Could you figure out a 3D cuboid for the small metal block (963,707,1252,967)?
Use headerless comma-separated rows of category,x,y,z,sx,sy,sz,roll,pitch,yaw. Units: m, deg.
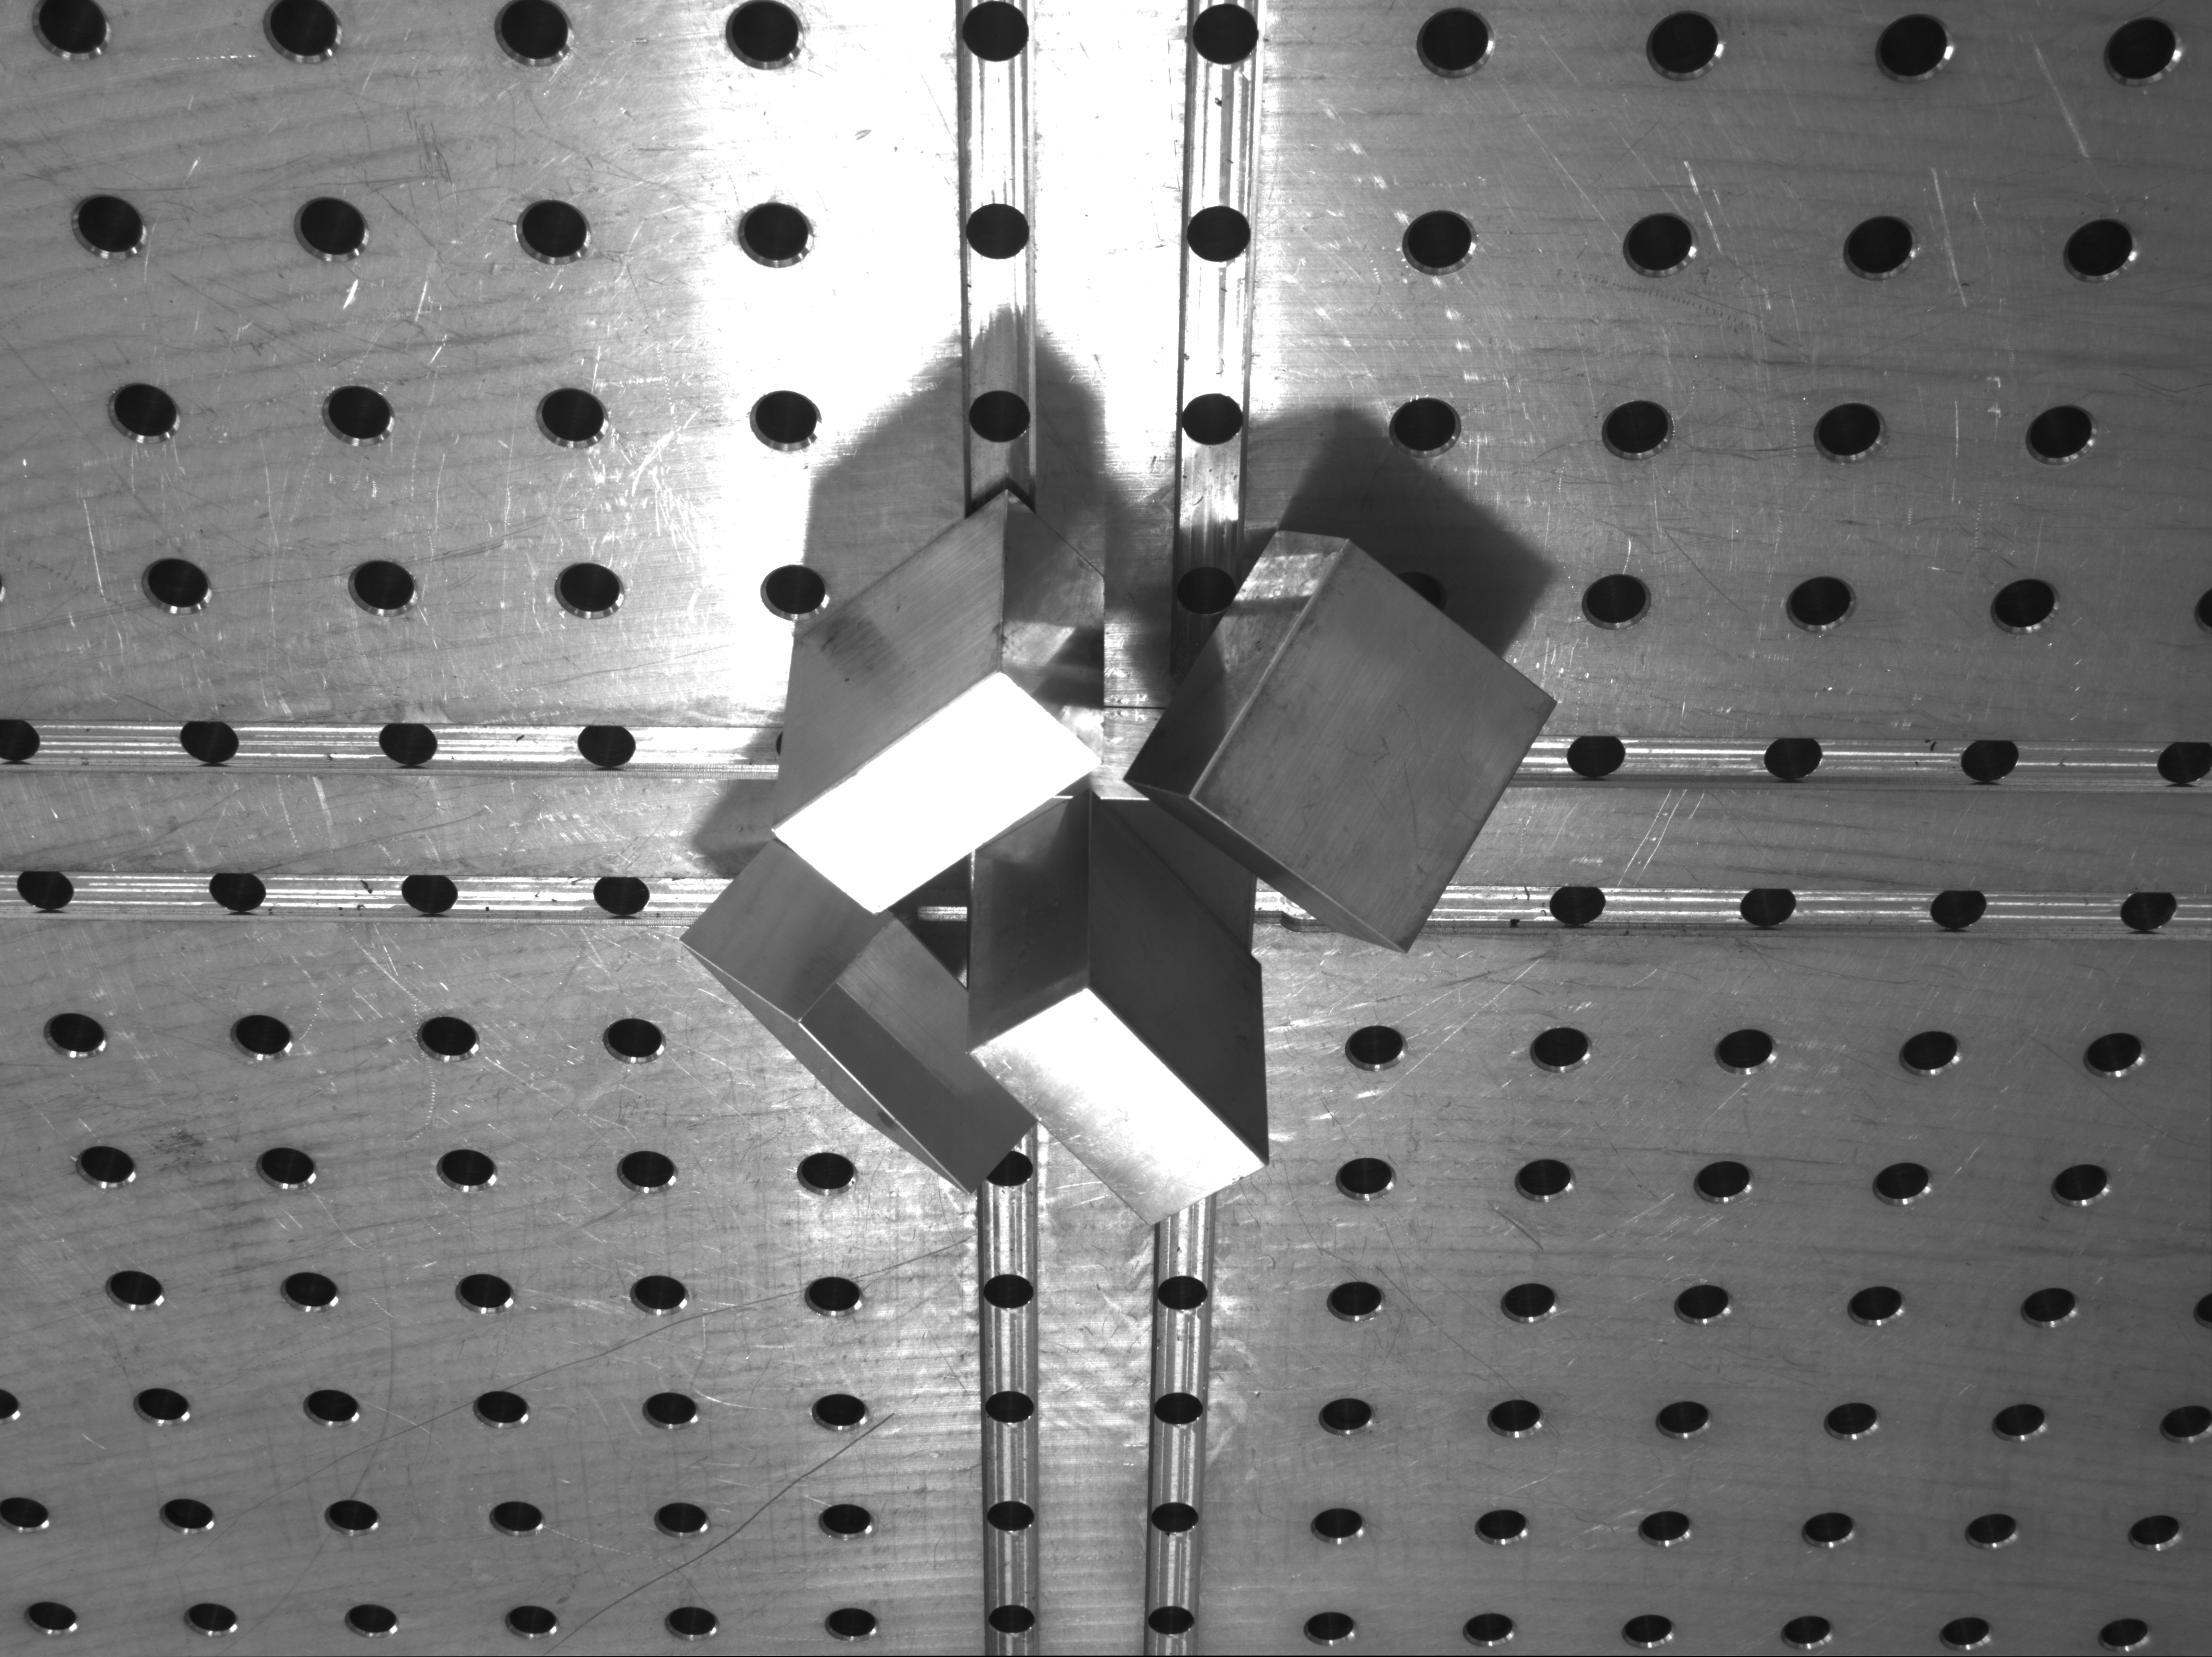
small metal block,0.000,0.006,0.647,0.050,0.025,0.050,-1,130,-1

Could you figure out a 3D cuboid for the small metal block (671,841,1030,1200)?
small metal block,-0.043,0.034,0.651,0.025,0.050,0.050,-48,123,-10

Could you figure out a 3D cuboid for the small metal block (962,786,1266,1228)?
small metal block,0.001,0.030,0.619,0.025,0.050,0.050,-30,124,22

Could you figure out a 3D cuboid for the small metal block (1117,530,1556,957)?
small metal block,0.039,-0.014,0.613,0.050,0.025,0.050,35,82,-26

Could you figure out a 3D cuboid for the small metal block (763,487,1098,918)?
small metal block,-0.028,-0.021,0.609,0.050,0.050,0.025,-34,122,25
